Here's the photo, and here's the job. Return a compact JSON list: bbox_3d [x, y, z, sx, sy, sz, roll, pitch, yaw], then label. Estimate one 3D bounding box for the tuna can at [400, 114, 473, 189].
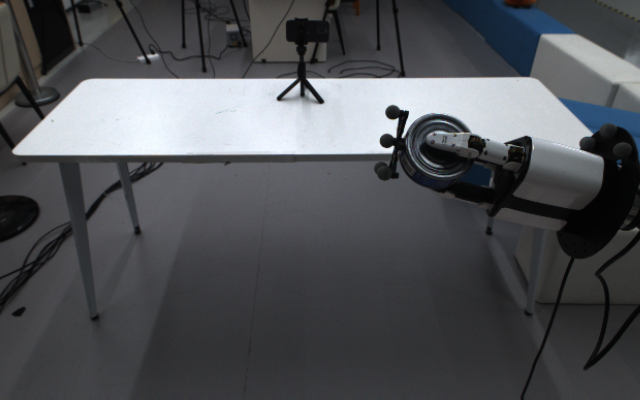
[{"bbox_3d":[0.141,-0.061,0.578,0.085,0.034,0.085,2,73,-6],"label":"tuna can"}]
